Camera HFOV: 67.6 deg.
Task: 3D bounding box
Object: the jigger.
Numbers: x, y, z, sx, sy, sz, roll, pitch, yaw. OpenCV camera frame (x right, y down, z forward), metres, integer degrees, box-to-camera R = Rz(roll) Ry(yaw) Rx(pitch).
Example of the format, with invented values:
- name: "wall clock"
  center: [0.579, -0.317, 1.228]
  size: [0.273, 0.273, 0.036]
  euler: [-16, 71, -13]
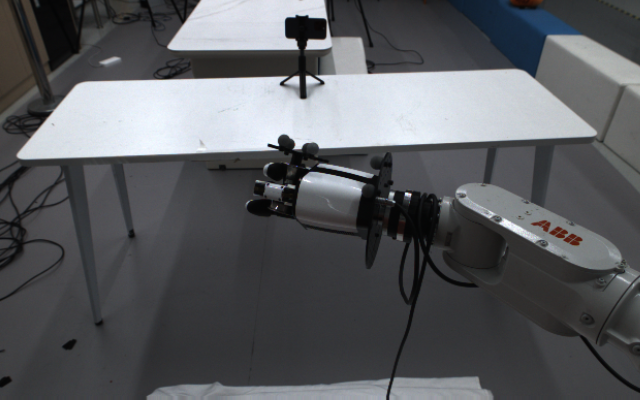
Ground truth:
- name: "jigger"
  center: [-0.043, -0.016, 0.678]
  size: [0.043, 0.071, 0.043]
  euler: [17, 2, -1]
